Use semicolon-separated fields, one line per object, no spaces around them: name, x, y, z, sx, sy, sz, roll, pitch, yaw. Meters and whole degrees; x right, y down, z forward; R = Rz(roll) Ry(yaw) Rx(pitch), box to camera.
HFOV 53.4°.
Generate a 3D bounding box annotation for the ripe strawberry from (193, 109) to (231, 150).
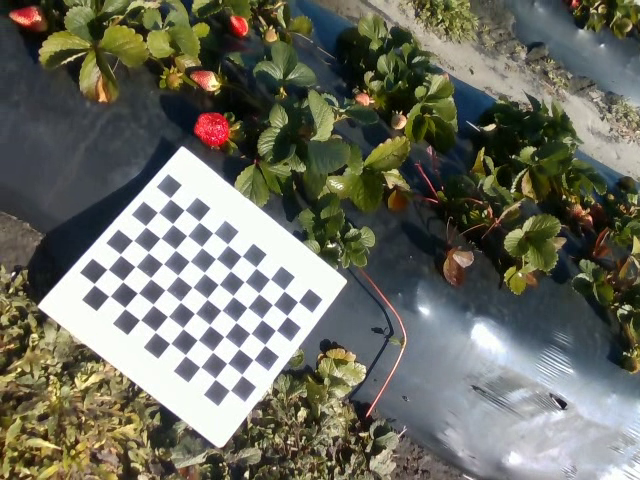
ripe strawberry;-0.148;-0.148;0.834;0.058;0.066;0.061;-10;-6;14
